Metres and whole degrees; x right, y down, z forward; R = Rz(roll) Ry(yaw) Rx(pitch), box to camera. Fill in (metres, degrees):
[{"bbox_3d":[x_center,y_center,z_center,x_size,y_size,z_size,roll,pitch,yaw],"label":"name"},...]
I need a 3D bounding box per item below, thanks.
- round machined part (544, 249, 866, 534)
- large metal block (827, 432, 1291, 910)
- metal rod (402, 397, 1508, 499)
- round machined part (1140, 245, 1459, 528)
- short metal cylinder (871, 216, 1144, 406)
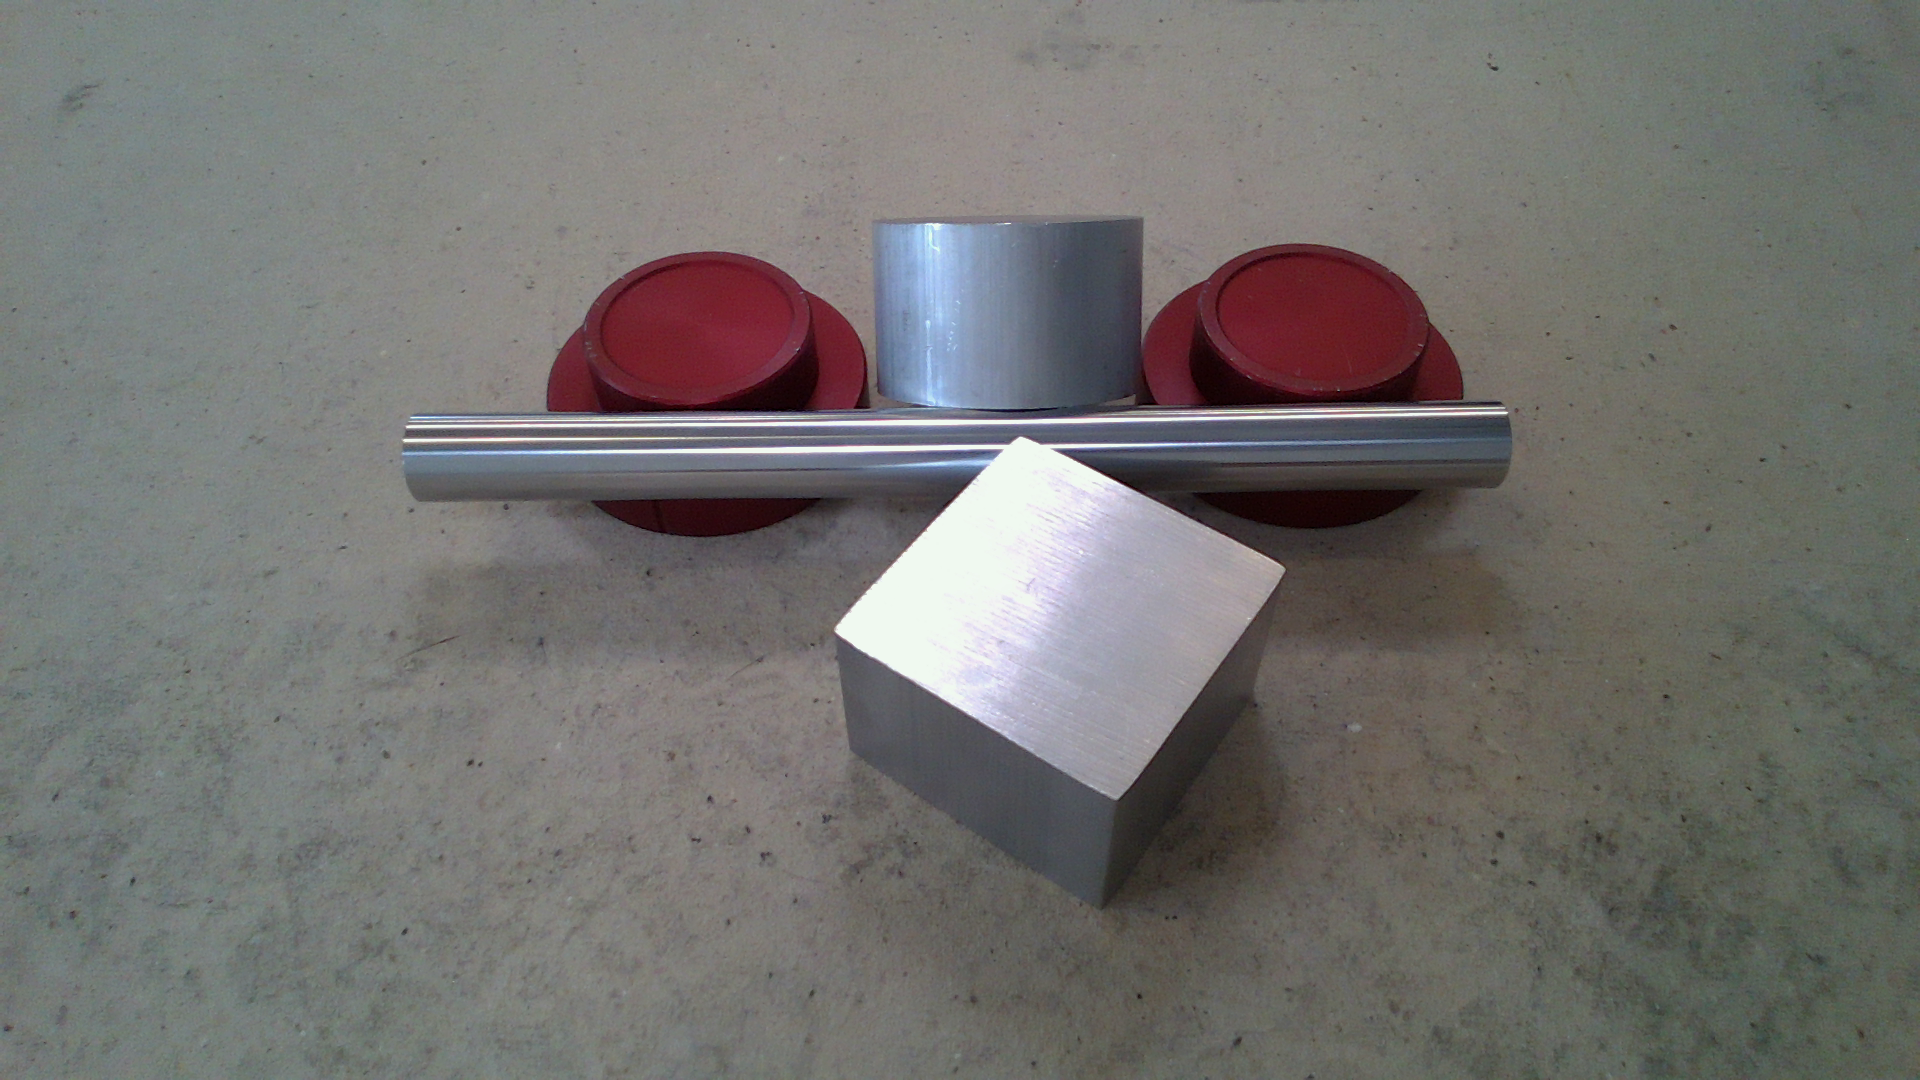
[{"bbox_3d":[-0.079,-0.052,0.424,0.098,0.042,0.098,0,50,0],"label":"round machined part"},{"bbox_3d":[0.025,0.030,0.347,0.080,0.050,0.080,28,55,22],"label":"large metal block"},{"bbox_3d":[-0.001,-0.026,0.386,0.300,0.025,0.025,-1,50,-1],"label":"metal rod"},{"bbox_3d":[0.105,-0.054,0.426,0.098,0.042,0.098,0,50,0],"label":"round machined part"},{"bbox_3d":[0.014,-0.071,0.411,0.080,0.050,0.080,0,14,0],"label":"short metal cylinder"}]
